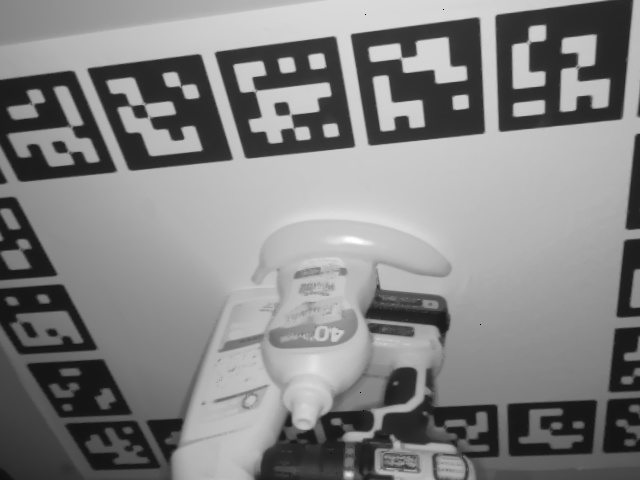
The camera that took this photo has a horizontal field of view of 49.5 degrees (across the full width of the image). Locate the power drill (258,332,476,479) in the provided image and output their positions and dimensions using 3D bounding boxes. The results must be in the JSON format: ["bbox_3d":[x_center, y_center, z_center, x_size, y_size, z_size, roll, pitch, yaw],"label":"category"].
[{"bbox_3d":[0.048,0.167,0.641,0.184,0.189,0.057,7,125,4],"label":"power drill"}]

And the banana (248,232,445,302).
[{"bbox_3d":[0.023,0.027,0.680,0.197,0.039,0.073,-2,122,4],"label":"banana"}]

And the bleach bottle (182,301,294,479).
[{"bbox_3d":[-0.063,0.167,0.647,0.102,0.253,0.067,-2,129,8],"label":"bleach bottle"}]

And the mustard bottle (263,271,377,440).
[{"bbox_3d":[-0.001,0.100,0.627,0.096,0.193,0.058,-4,123,10],"label":"mustard bottle"}]
